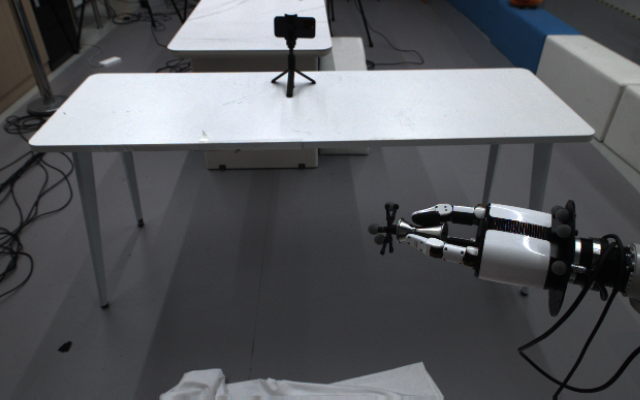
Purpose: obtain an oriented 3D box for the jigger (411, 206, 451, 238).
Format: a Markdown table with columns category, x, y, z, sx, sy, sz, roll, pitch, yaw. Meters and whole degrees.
| category | x | y | z | sx | sy | sz | roll | pitch | yaw |
| --- | --- | --- | --- | --- | --- | --- | --- | --- | --- |
| jigger | 0.160 | 0.043 | 0.726 | 0.071 | 0.043 | 0.043 | 6 | 33 | 27 |
